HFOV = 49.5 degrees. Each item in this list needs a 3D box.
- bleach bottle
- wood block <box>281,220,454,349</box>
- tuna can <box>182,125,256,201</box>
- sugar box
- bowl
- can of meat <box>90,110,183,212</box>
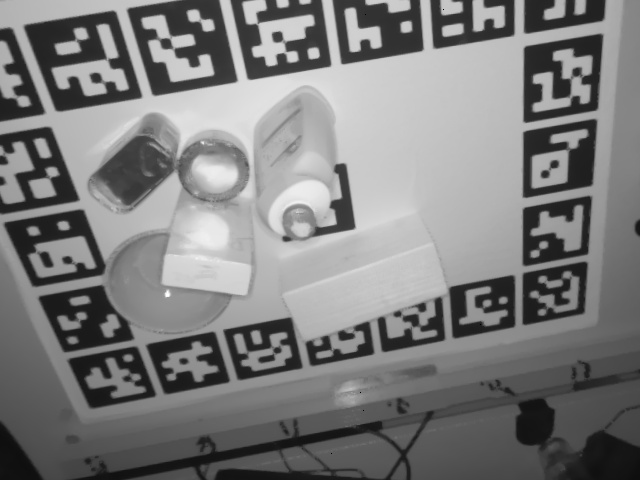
[{"bbox_3d":[-0.014,-0.075,0.724,0.102,0.252,0.068,-31,119,11],"label":"bleach bottle"},{"bbox_3d":[0.061,0.057,0.903,0.206,0.090,0.090,-16,116,4],"label":"wood block"},{"bbox_3d":[-0.118,-0.092,0.822,0.086,0.034,0.085,-3,116,-5],"label":"tuna can"},{"bbox_3d":[-0.128,-0.001,0.791,0.093,0.177,0.045,9,116,-15],"label":"sugar box"},{"bbox_3d":[-0.202,0.049,0.883,0.162,0.055,0.160,-5,120,-8],"label":"bowl"},{"bbox_3d":[-0.205,-0.093,0.791,0.101,0.084,0.058,-35,120,15],"label":"can of meat"}]
